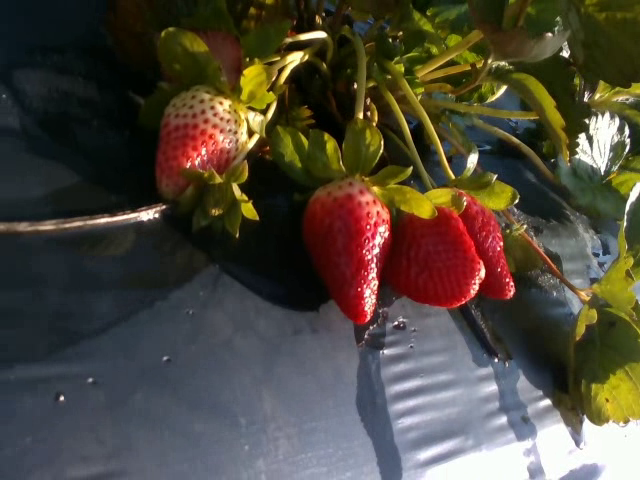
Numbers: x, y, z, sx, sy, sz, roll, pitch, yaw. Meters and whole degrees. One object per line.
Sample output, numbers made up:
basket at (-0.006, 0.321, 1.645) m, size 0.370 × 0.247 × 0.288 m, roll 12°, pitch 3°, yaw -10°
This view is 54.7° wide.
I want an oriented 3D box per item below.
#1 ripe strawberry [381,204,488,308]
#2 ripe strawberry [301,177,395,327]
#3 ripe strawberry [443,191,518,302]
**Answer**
ripe strawberry at (0.037, 0.004, 0.193) m, size 0.030 × 0.036 × 0.039 m, roll 19°, pitch 15°, yaw -39°
ripe strawberry at (0.011, 0.003, 0.179) m, size 0.032 × 0.046 × 0.023 m, roll 6°, pitch -17°, yaw -41°
ripe strawberry at (0.056, 0.007, 0.214) m, size 0.035 × 0.034 × 0.041 m, roll 0°, pitch 41°, yaw -41°
